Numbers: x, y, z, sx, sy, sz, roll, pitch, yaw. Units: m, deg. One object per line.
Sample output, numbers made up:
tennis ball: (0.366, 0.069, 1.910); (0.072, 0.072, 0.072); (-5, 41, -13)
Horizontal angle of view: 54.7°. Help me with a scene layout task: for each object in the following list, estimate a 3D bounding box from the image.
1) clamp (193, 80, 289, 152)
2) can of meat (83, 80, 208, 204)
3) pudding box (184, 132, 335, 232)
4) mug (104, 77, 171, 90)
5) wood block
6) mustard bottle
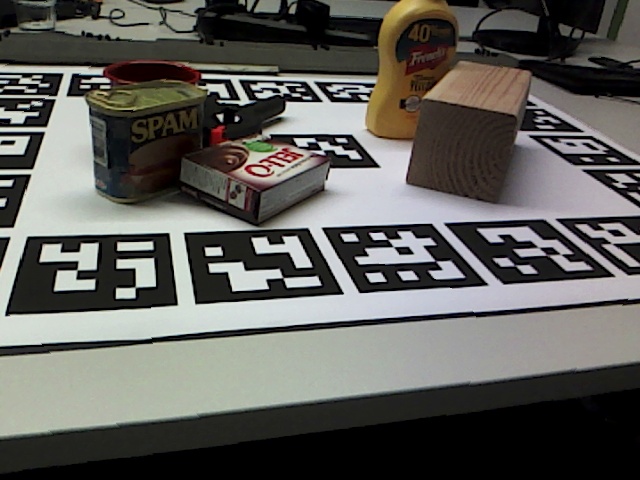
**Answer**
clamp: (-0.104, -0.140, 0.705); (0.122, 0.036, 0.165); (9, 33, -1)
can of meat: (-0.150, -0.087, 0.542); (0.058, 0.083, 0.101); (32, 38, 33)
pudding box: (-0.054, -0.056, 0.566); (0.090, 0.038, 0.113); (25, 33, 26)
mug: (-0.171, -0.120, 0.648); (0.093, 0.081, 0.117); (9, 32, 3)
wood block: (0.171, -0.121, 0.678); (0.090, 0.091, 0.206); (15, 30, 16)
mustard bottle: (0.110, -0.221, 0.723); (0.096, 0.191, 0.059); (-6, 34, -20)
